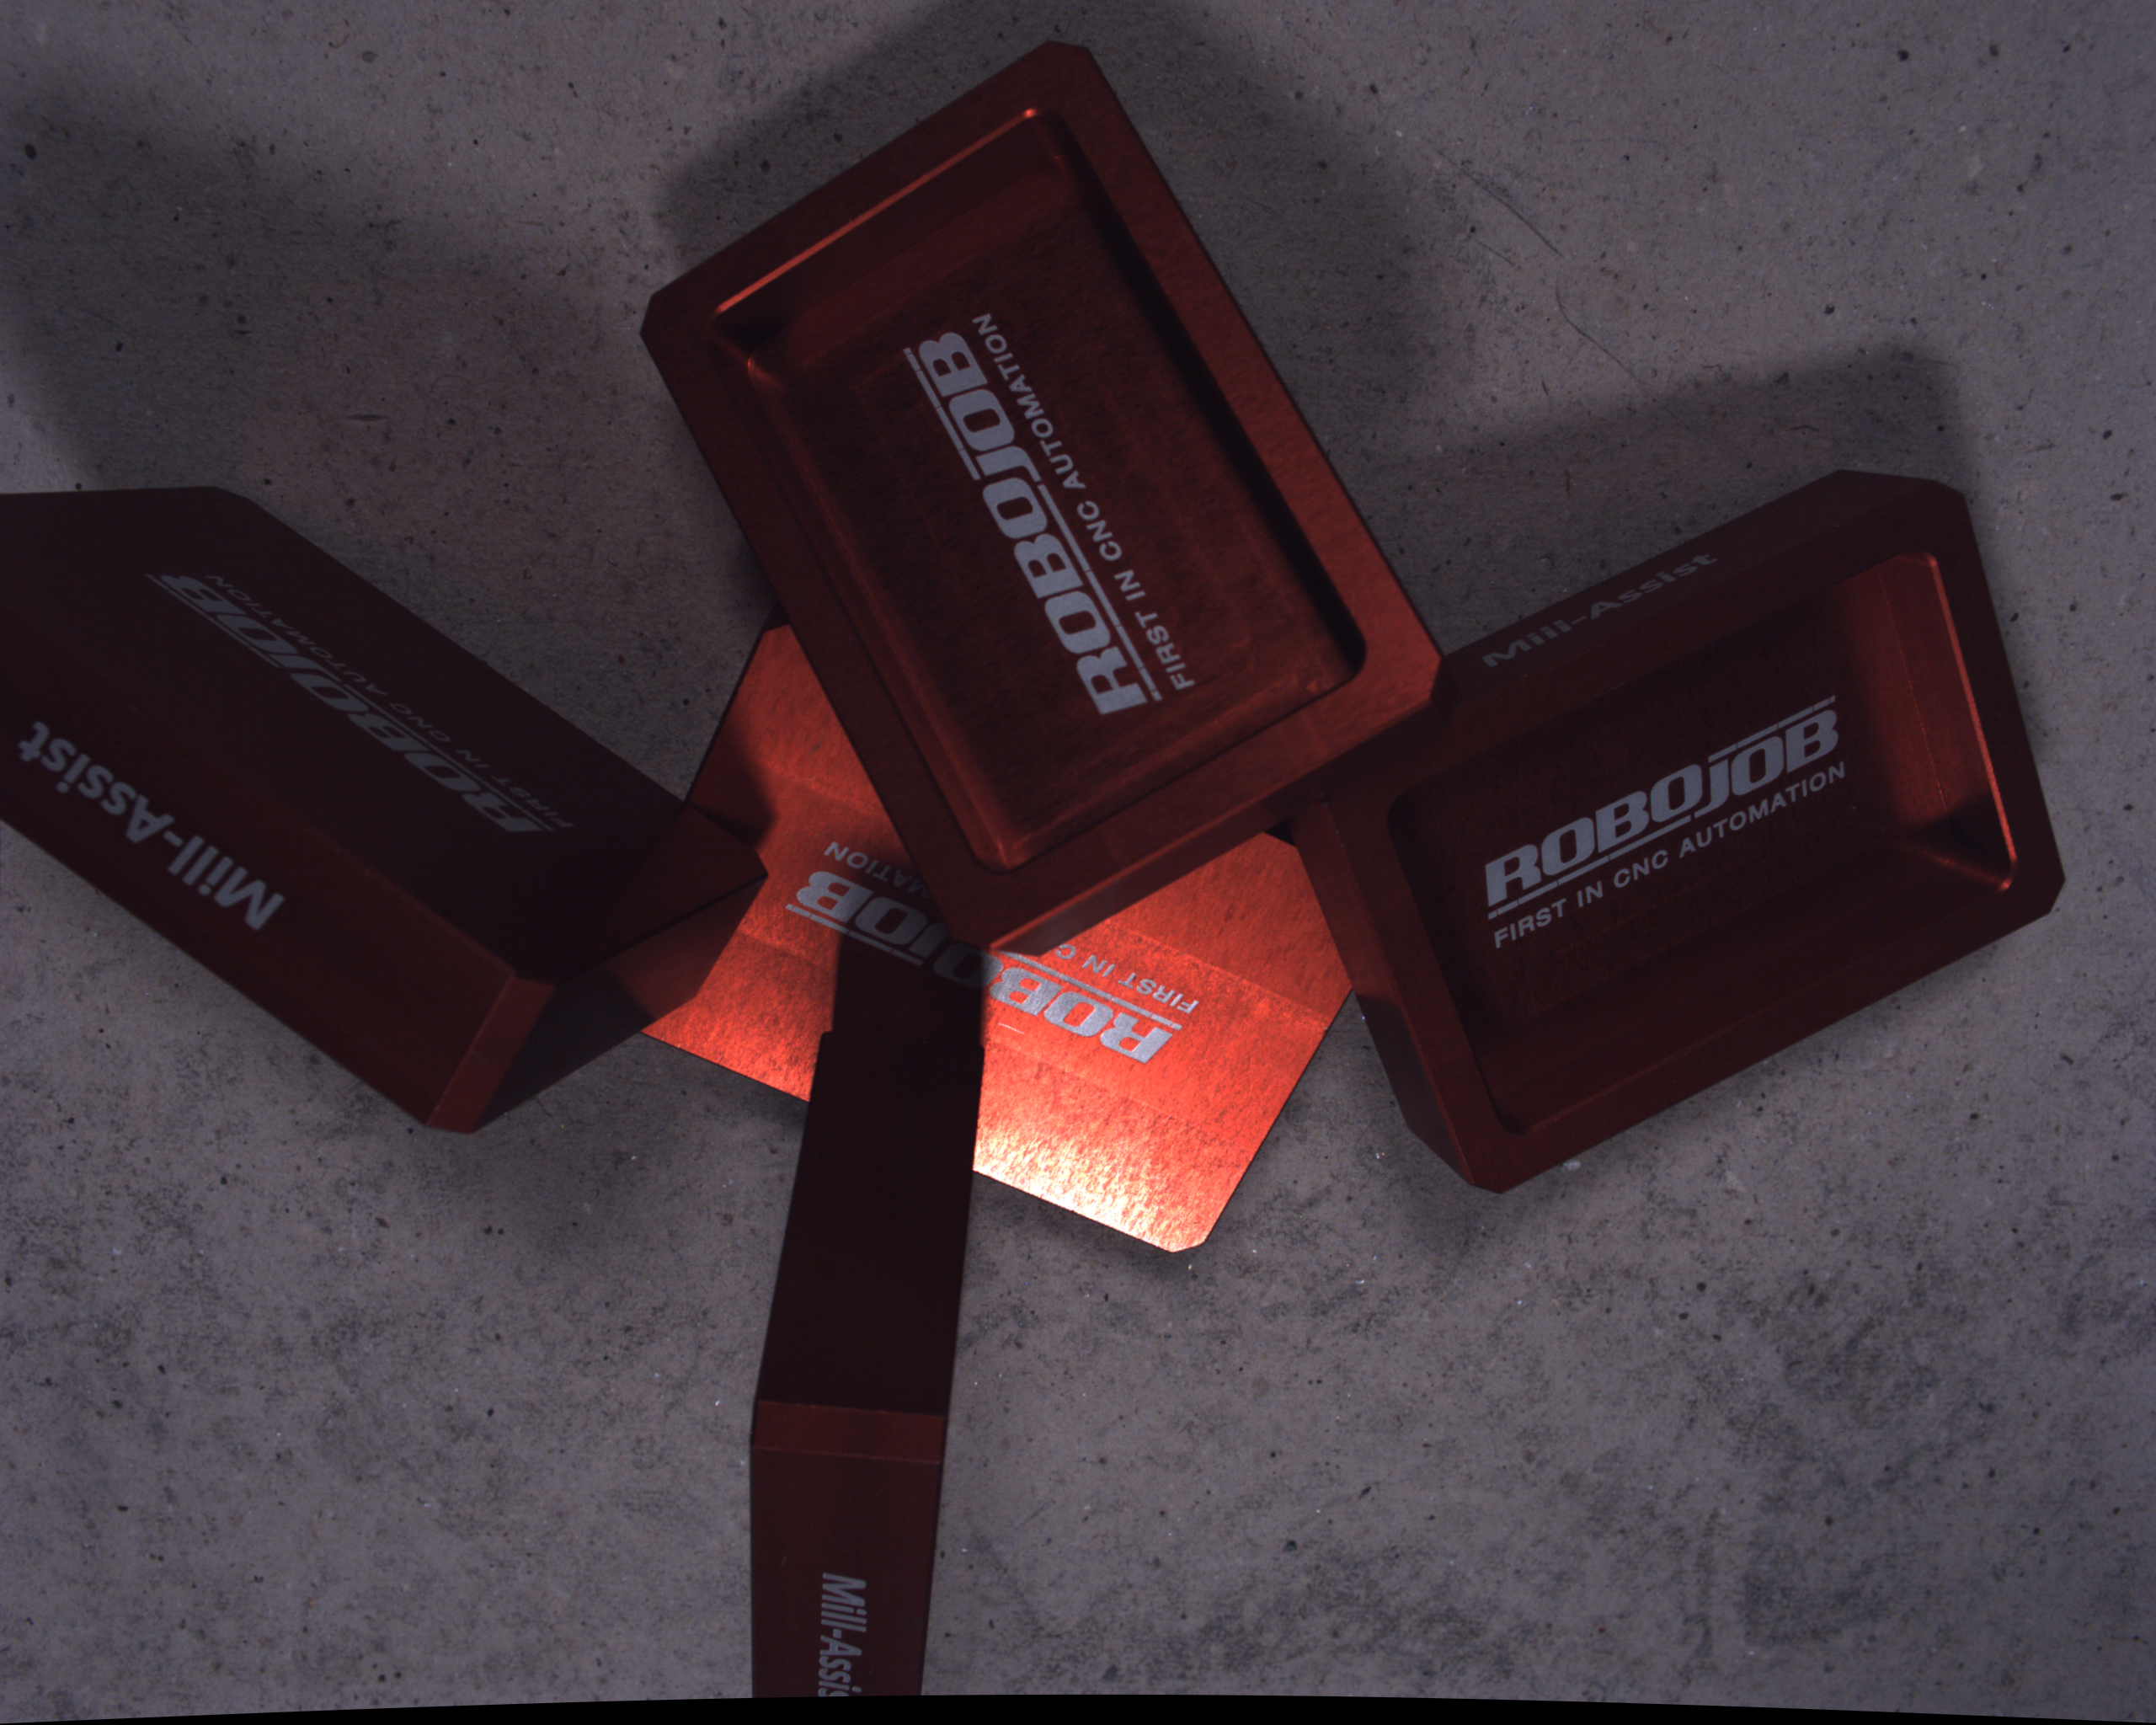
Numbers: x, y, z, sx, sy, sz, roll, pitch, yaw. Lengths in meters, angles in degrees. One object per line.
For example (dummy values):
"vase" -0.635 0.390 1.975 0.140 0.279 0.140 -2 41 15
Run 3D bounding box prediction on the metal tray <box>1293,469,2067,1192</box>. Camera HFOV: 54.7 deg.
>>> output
"metal tray" 0.112 -0.007 0.390 0.131 0.030 0.090 -25 109 -7

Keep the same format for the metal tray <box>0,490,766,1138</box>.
"metal tray" -0.128 -0.014 0.353 0.130 0.090 0.030 35 107 5

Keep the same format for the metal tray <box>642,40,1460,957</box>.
"metal tray" -0.006 -0.060 0.355 0.090 0.030 0.130 -30 79 10

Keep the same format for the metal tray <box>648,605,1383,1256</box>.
"metal tray" -0.016 0.013 0.413 0.131 0.030 0.089 24 108 -9

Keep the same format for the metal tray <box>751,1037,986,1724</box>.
"metal tray" -0.039 0.108 0.395 0.030 0.090 0.129 5 131 -2
